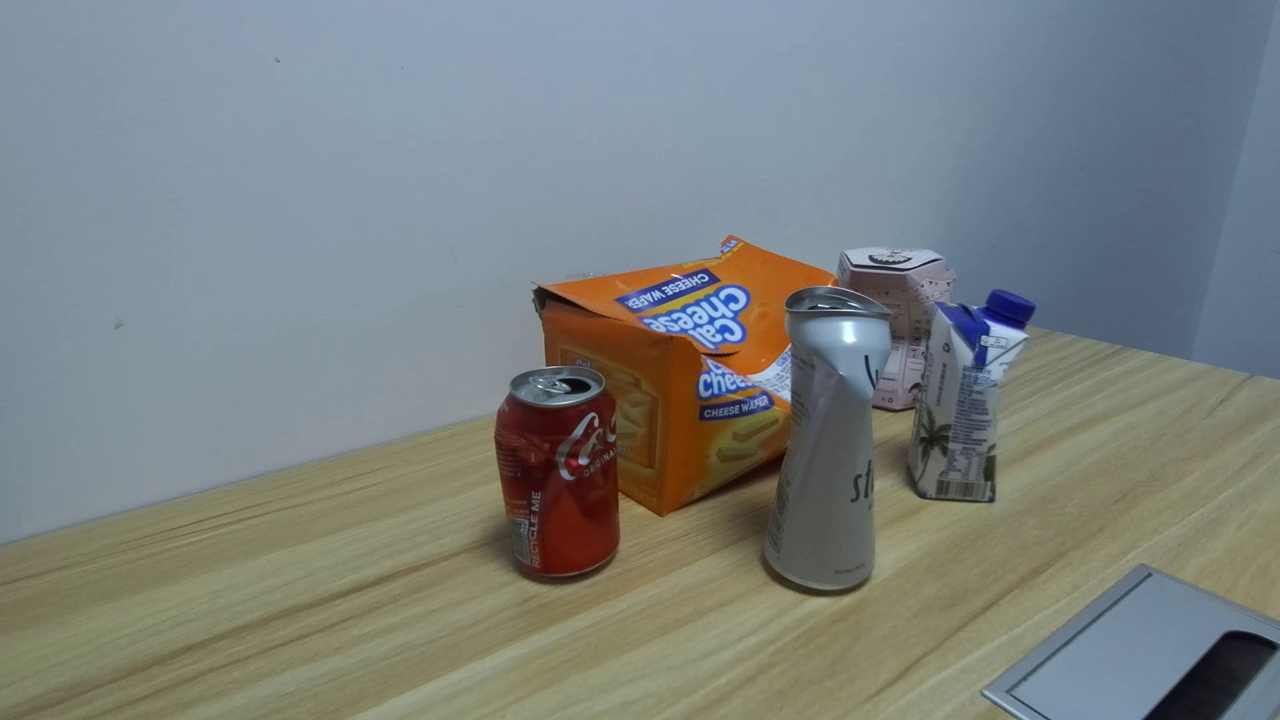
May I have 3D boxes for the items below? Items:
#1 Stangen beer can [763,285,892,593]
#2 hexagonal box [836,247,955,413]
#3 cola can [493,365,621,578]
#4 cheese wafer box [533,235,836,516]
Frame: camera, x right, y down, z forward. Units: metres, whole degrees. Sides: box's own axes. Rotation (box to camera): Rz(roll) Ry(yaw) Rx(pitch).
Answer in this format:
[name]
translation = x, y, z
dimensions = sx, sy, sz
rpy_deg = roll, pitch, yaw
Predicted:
[Stangen beer can]
translation = 0.104, 0.045, 0.390
dimensions = 0.066, 0.162, 0.076
rpy_deg = -18, 25, -39
[hexagonal box]
translation = 0.219, -0.026, 0.620
dimensions = 0.090, 0.134, 0.091
rpy_deg = -8, 19, -12
[cola can]
translation = -0.047, 0.065, 0.418
dimensions = 0.066, 0.117, 0.066
rpy_deg = 2, 21, 13
[cheese wafer box]
translation = 0.059, -0.002, 0.553
dimensions = 0.220, 0.145, 0.190
rpy_deg = -18, 24, -36
